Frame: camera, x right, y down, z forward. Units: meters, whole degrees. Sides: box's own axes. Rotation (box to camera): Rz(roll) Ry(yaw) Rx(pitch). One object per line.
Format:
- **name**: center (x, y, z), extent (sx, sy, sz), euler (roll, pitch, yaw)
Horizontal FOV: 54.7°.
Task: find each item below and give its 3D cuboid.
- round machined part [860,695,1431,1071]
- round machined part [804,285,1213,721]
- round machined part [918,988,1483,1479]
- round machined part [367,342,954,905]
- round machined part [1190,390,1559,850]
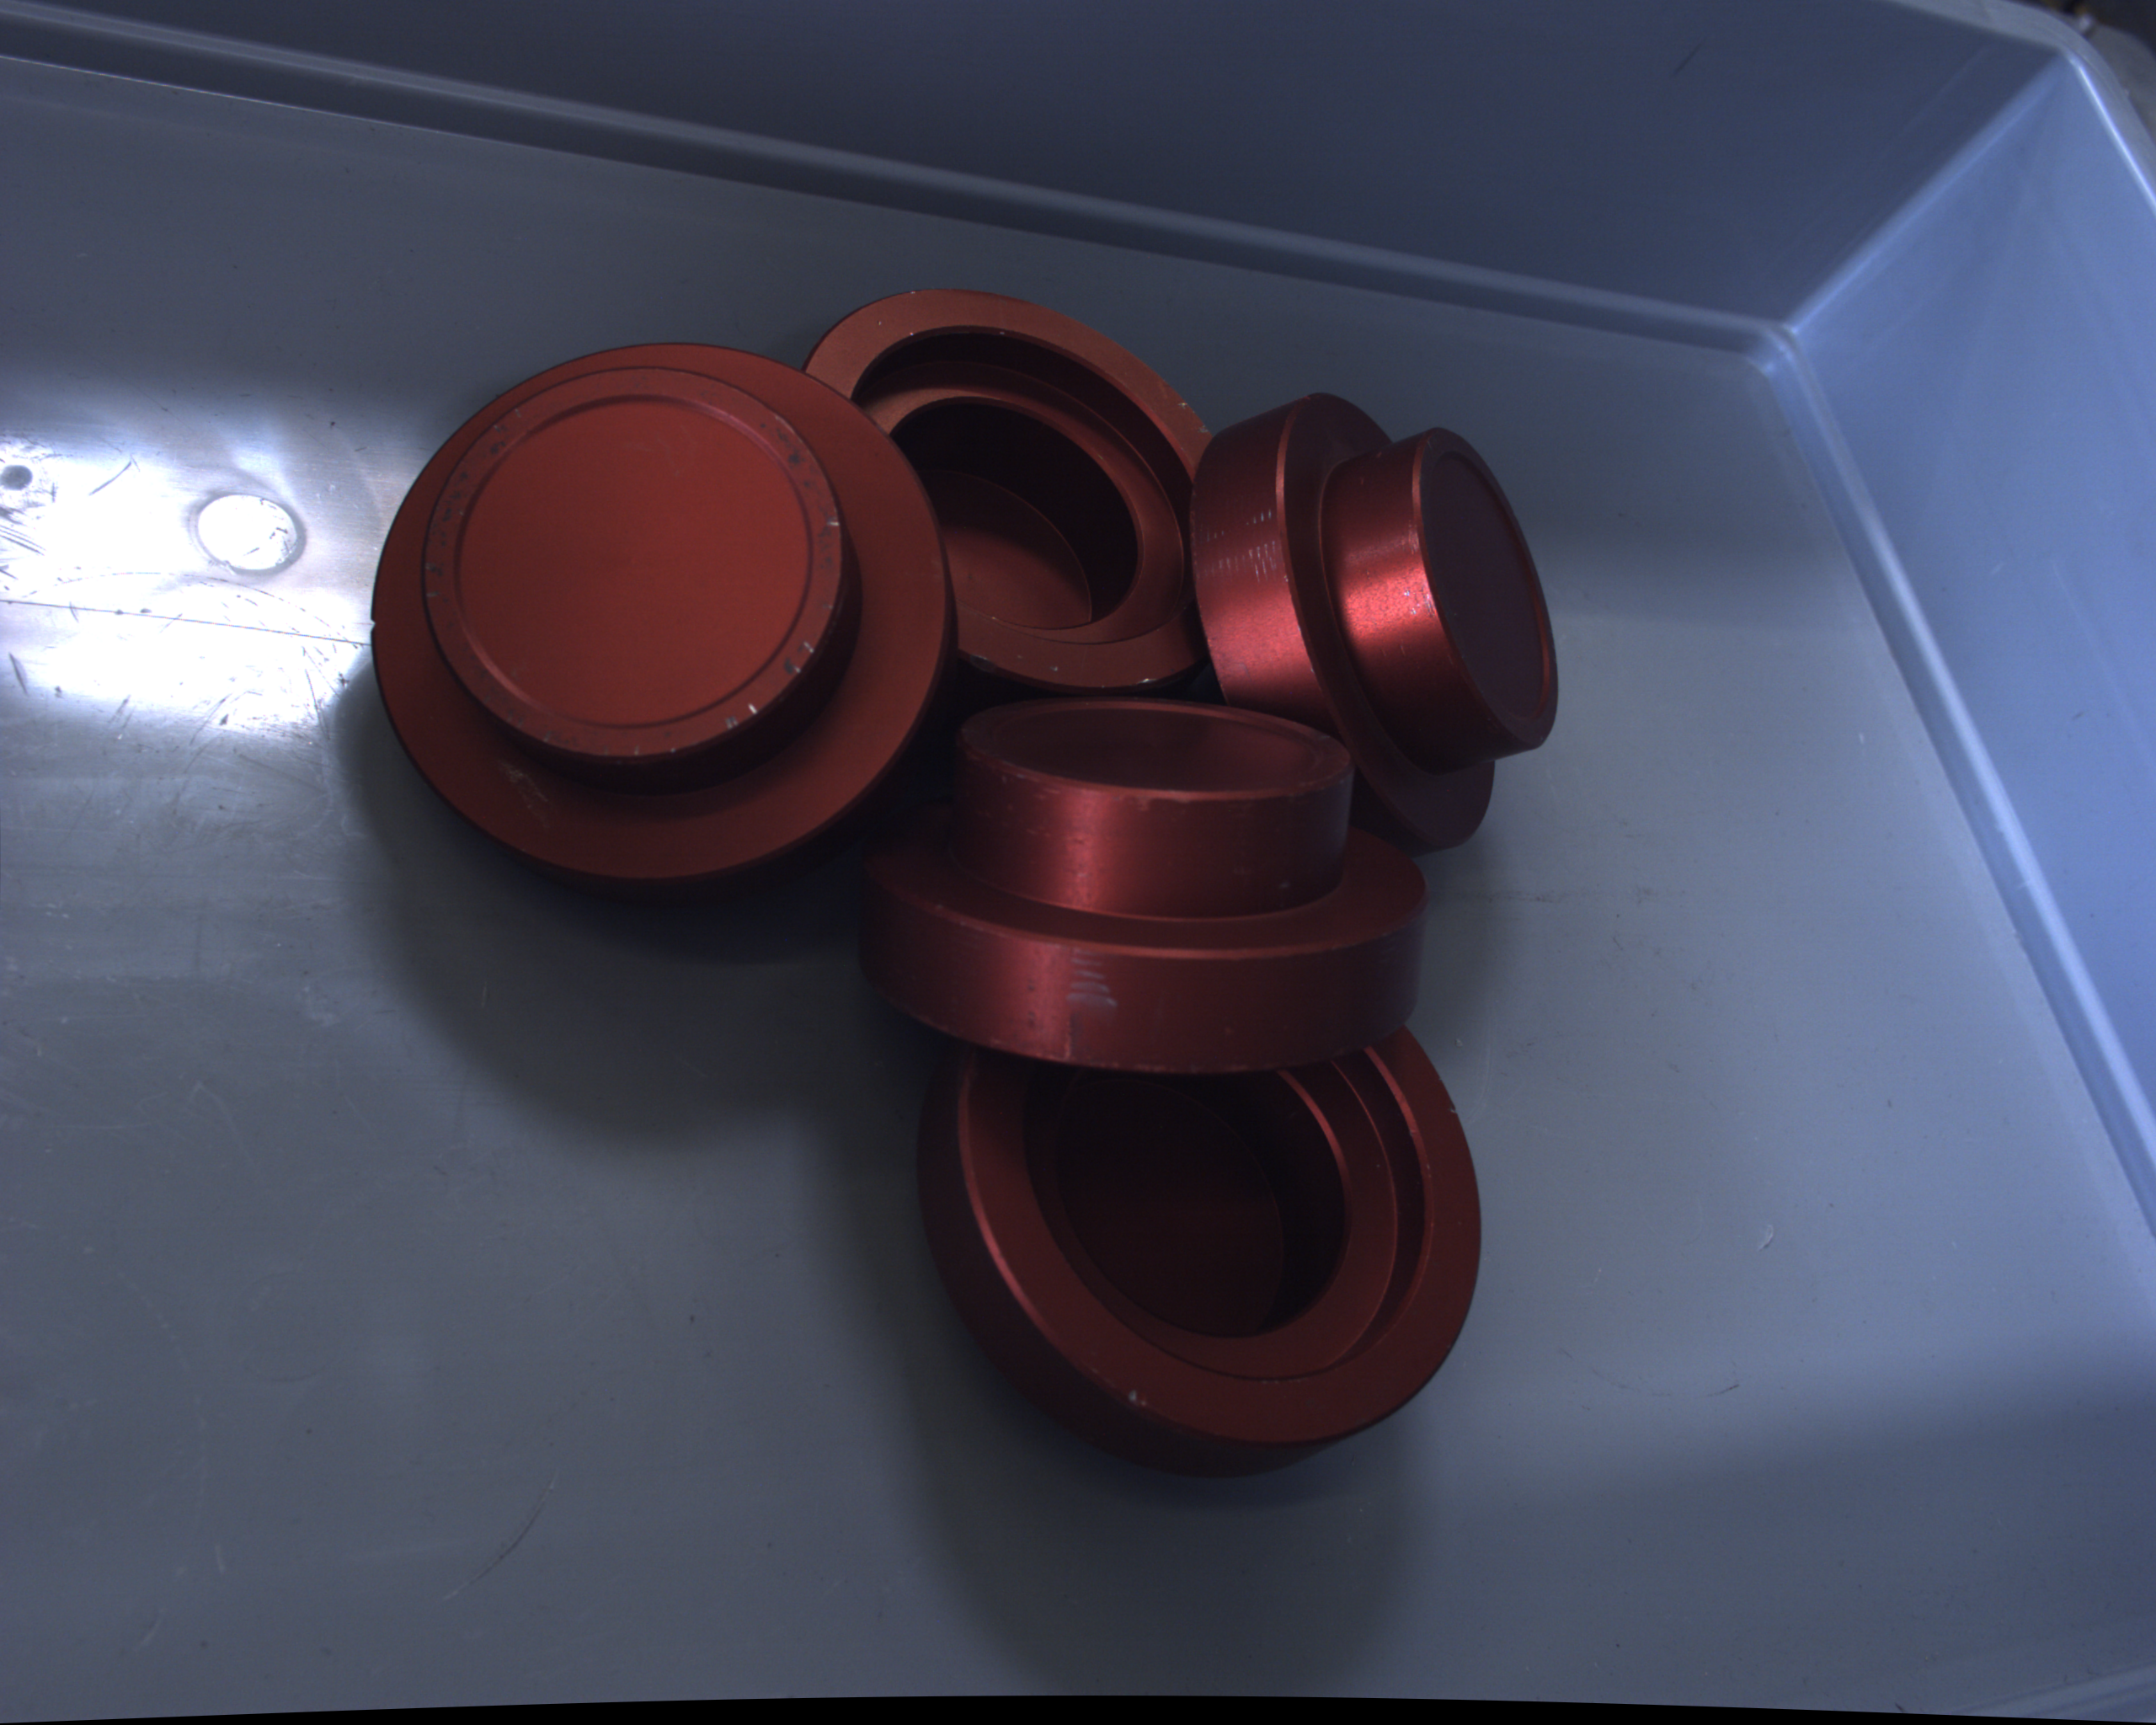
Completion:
- **round machined part**: center (0.012, -0.002, 0.363), extent (0.099, 0.098, 0.042), euler (-7, 110, -31)
- **round machined part**: center (-0.017, -0.065, 0.422), extent (0.099, 0.042, 0.098), euler (14, 56, -21)
- **round machined part**: center (0.018, 0.059, 0.366), extent (0.099, 0.042, 0.098), euler (14, 56, -21)
- **round machined part**: center (-0.071, -0.044, 0.353), extent (0.099, 0.042, 0.098), euler (0, 76, 0)
- **round machined part**: center (0.066, -0.051, 0.430), extent (0.098, 0.042, 0.098), euler (33, 49, -48)
